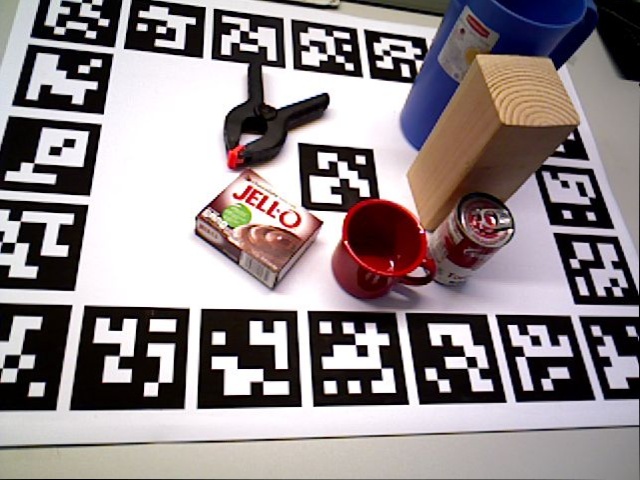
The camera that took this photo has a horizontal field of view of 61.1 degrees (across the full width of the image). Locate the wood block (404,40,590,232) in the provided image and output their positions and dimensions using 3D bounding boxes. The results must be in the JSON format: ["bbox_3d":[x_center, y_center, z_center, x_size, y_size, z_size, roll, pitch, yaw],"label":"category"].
[{"bbox_3d":[0.183,-0.100,0.596,0.089,0.211,0.090,2,60,-17],"label":"wood block"}]

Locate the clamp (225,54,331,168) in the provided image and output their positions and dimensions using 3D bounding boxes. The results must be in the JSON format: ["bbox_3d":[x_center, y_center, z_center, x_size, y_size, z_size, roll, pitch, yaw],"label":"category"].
[{"bbox_3d":[-0.068,-0.153,0.676,0.121,0.037,0.162,32,59,-4],"label":"clamp"}]

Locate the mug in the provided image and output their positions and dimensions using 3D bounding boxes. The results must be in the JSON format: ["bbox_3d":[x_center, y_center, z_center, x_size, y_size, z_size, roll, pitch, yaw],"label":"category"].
[{"bbox_3d":[0.068,0.021,0.577,0.117,0.083,0.091,34,56,7],"label":"mug"}]

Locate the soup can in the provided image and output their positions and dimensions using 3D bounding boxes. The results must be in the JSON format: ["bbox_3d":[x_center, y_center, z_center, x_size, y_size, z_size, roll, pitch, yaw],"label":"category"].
[{"bbox_3d":[0.160,0.003,0.596,0.067,0.104,0.067,5,62,-11],"label":"soup can"}]

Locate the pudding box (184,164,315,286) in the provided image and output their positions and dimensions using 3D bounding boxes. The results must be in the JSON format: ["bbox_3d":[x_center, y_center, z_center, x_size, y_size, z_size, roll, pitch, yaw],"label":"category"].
[{"bbox_3d":[-0.077,-0.017,0.592,0.114,0.039,0.088,35,62,8],"label":"pudding box"}]

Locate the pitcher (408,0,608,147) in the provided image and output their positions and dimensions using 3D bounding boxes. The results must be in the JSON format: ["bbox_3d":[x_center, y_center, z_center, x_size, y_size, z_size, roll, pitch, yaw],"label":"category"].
[{"bbox_3d":[0.202,-0.211,0.645,0.187,0.248,0.131,2,58,-10],"label":"pitcher"}]
